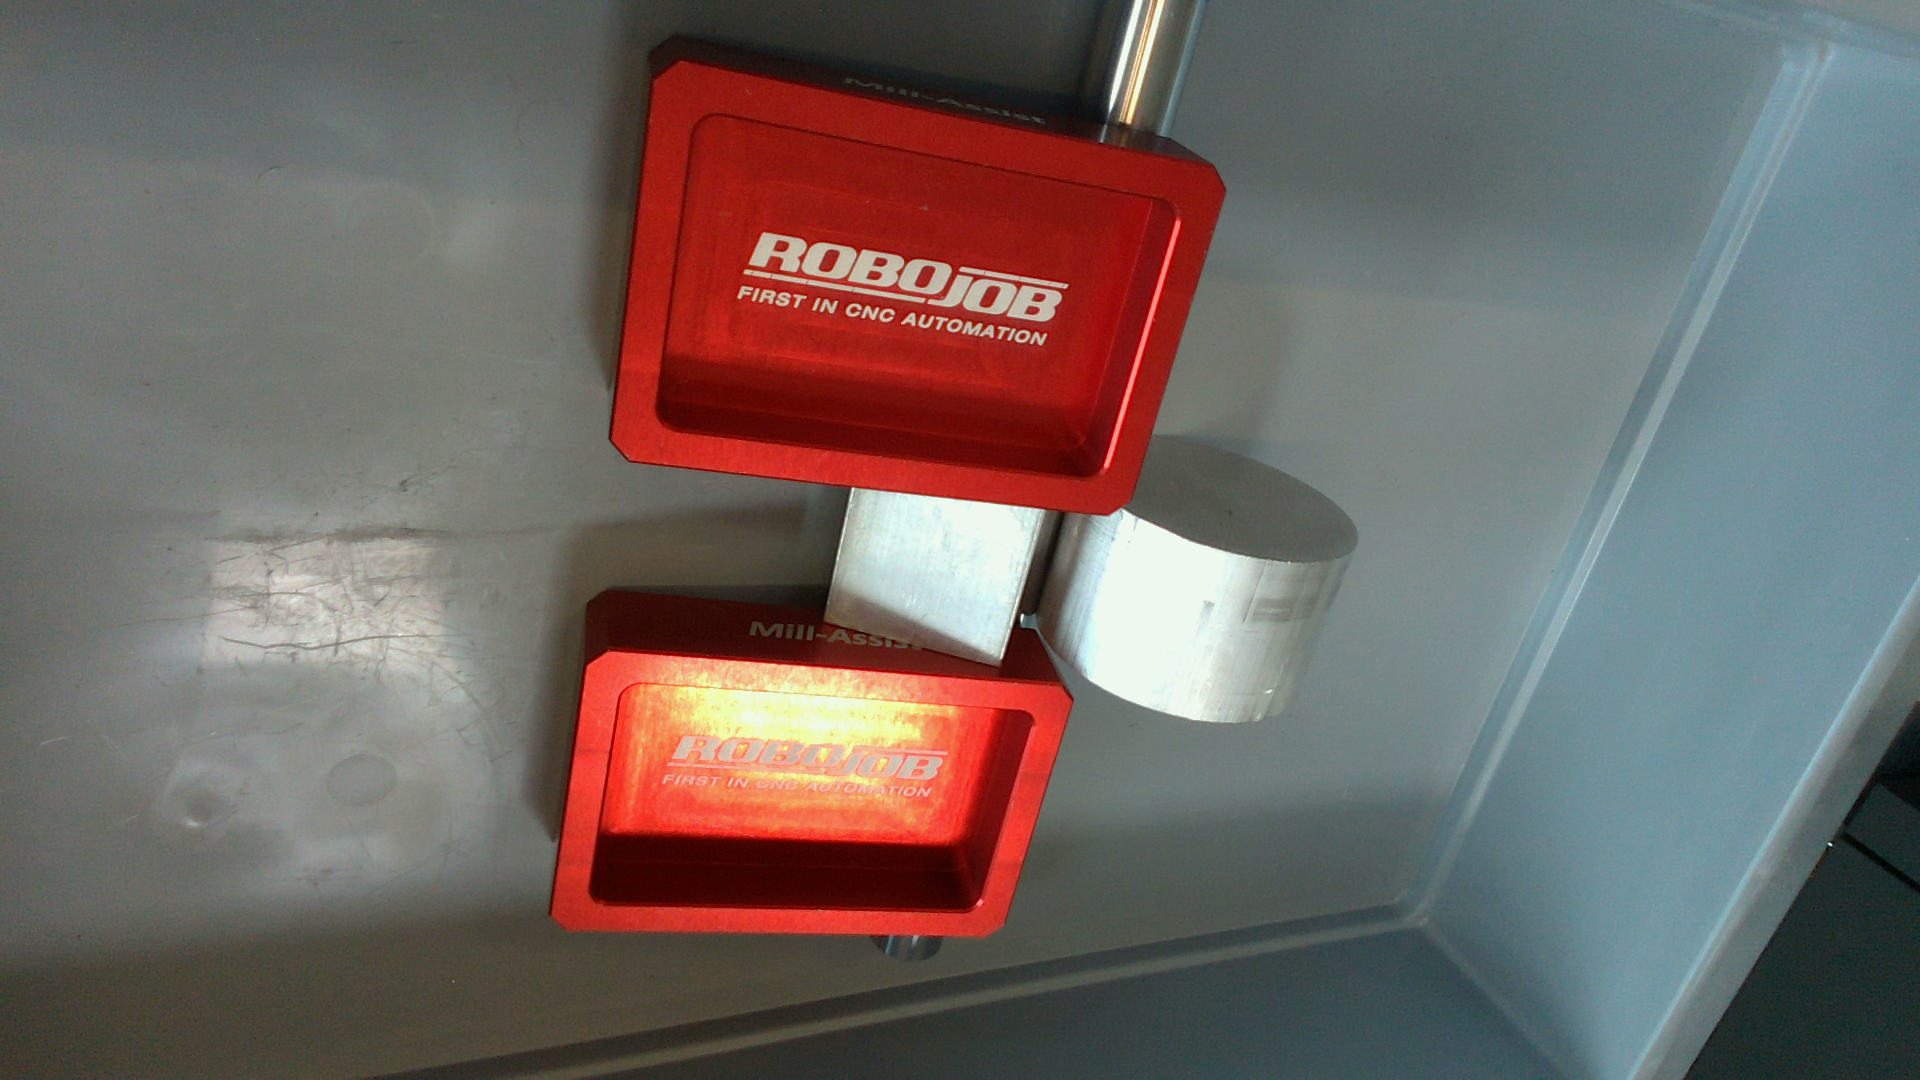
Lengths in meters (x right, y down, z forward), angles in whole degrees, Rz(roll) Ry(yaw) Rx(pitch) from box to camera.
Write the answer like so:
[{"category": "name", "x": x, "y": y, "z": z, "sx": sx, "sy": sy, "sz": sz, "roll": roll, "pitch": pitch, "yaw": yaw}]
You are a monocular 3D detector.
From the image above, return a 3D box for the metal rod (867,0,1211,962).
[{"category": "metal rod", "x": 0.015, "y": -0.001, "z": 0.394, "sx": 0.025, "sy": 0.025, "sz": 0.300, "roll": 0, "pitch": 118, "yaw": -28}]

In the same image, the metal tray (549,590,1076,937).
[{"category": "metal tray", "x": -0.042, "y": 0.066, "z": 0.384, "sx": 0.130, "sy": 0.030, "sz": 0.090, "roll": 6, "pitch": 116, "yaw": -17}]

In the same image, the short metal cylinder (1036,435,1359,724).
[{"category": "short metal cylinder", "x": 0.066, "y": 0.009, "z": 0.394, "sx": 0.080, "sy": 0.080, "sz": 0.050, "roll": 0, "pitch": 118, "yaw": -28}]

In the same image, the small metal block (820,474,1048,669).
[{"category": "small metal block", "x": -0.006, "y": 0.001, "z": 0.371, "sx": 0.050, "sy": 0.025, "sz": 0.050, "roll": 15, "pitch": 114, "yaw": 0}]

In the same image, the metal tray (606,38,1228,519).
[{"category": "metal tray", "x": -0.012, "y": -0.057, "z": 0.325, "sx": 0.130, "sy": 0.030, "sz": 0.090, "roll": 6, "pitch": 116, "yaw": -17}]
